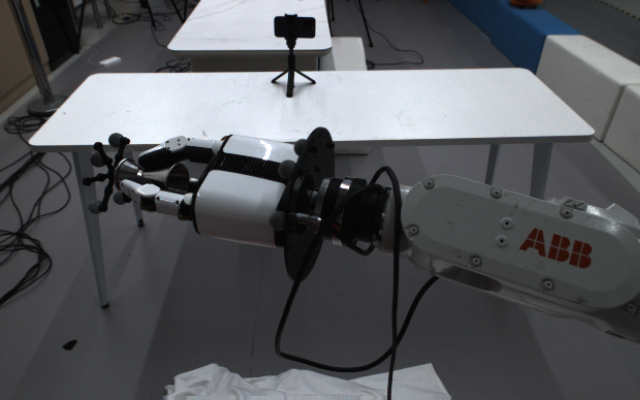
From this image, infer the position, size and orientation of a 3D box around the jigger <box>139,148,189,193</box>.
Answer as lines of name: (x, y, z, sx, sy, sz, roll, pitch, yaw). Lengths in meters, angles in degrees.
jigger: (-0.180, -0.025, 0.536, 0.071, 0.043, 0.043, 8, 35, 16)
